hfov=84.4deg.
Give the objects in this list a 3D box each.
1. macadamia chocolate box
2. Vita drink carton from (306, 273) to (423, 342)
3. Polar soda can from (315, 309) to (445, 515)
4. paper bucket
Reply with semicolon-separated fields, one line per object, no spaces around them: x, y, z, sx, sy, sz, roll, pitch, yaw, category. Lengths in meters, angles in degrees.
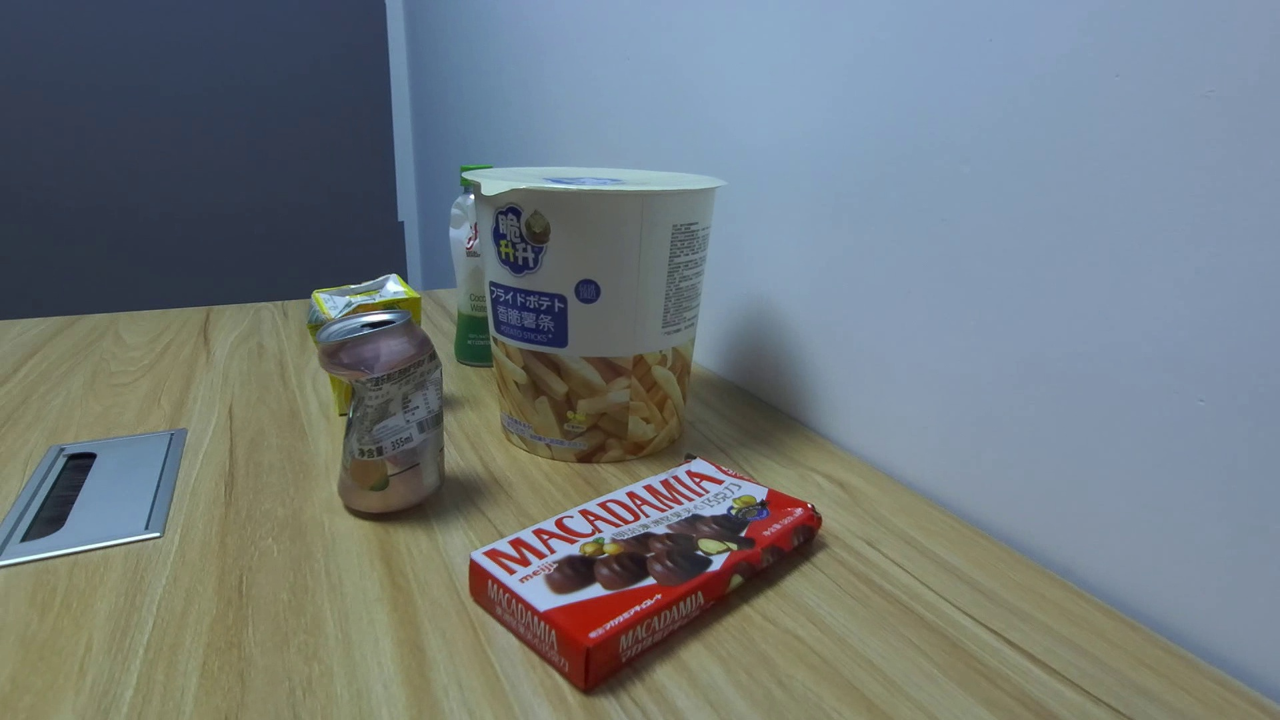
0.010;0.102;0.386;0.105;0.028;0.184;18;24;41;macadamia chocolate box
-0.219;-0.010;0.573;0.087;0.108;0.042;-11;37;-23;Vita drink carton
-0.163;0.032;0.435;0.071;0.122;0.067;7;24;19;Polar soda can
-0.033;-0.042;0.540;0.198;0.194;0.198;2;19;0;paper bucket
